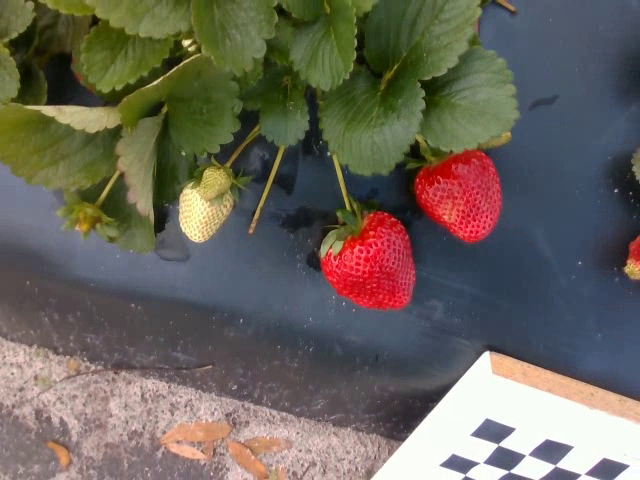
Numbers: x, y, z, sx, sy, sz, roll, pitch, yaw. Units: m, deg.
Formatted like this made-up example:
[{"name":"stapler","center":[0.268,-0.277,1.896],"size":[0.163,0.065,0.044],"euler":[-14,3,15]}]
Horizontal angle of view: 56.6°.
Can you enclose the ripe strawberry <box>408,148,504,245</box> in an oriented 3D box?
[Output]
[{"name":"ripe strawberry","center":[0.084,-0.023,0.352],"size":[0.050,0.060,0.051],"euler":[-32,-19,36]}]

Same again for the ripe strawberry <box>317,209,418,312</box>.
[{"name":"ripe strawberry","center":[0.034,0.019,0.361],"size":[0.058,0.065,0.044],"euler":[-26,15,33]}]
